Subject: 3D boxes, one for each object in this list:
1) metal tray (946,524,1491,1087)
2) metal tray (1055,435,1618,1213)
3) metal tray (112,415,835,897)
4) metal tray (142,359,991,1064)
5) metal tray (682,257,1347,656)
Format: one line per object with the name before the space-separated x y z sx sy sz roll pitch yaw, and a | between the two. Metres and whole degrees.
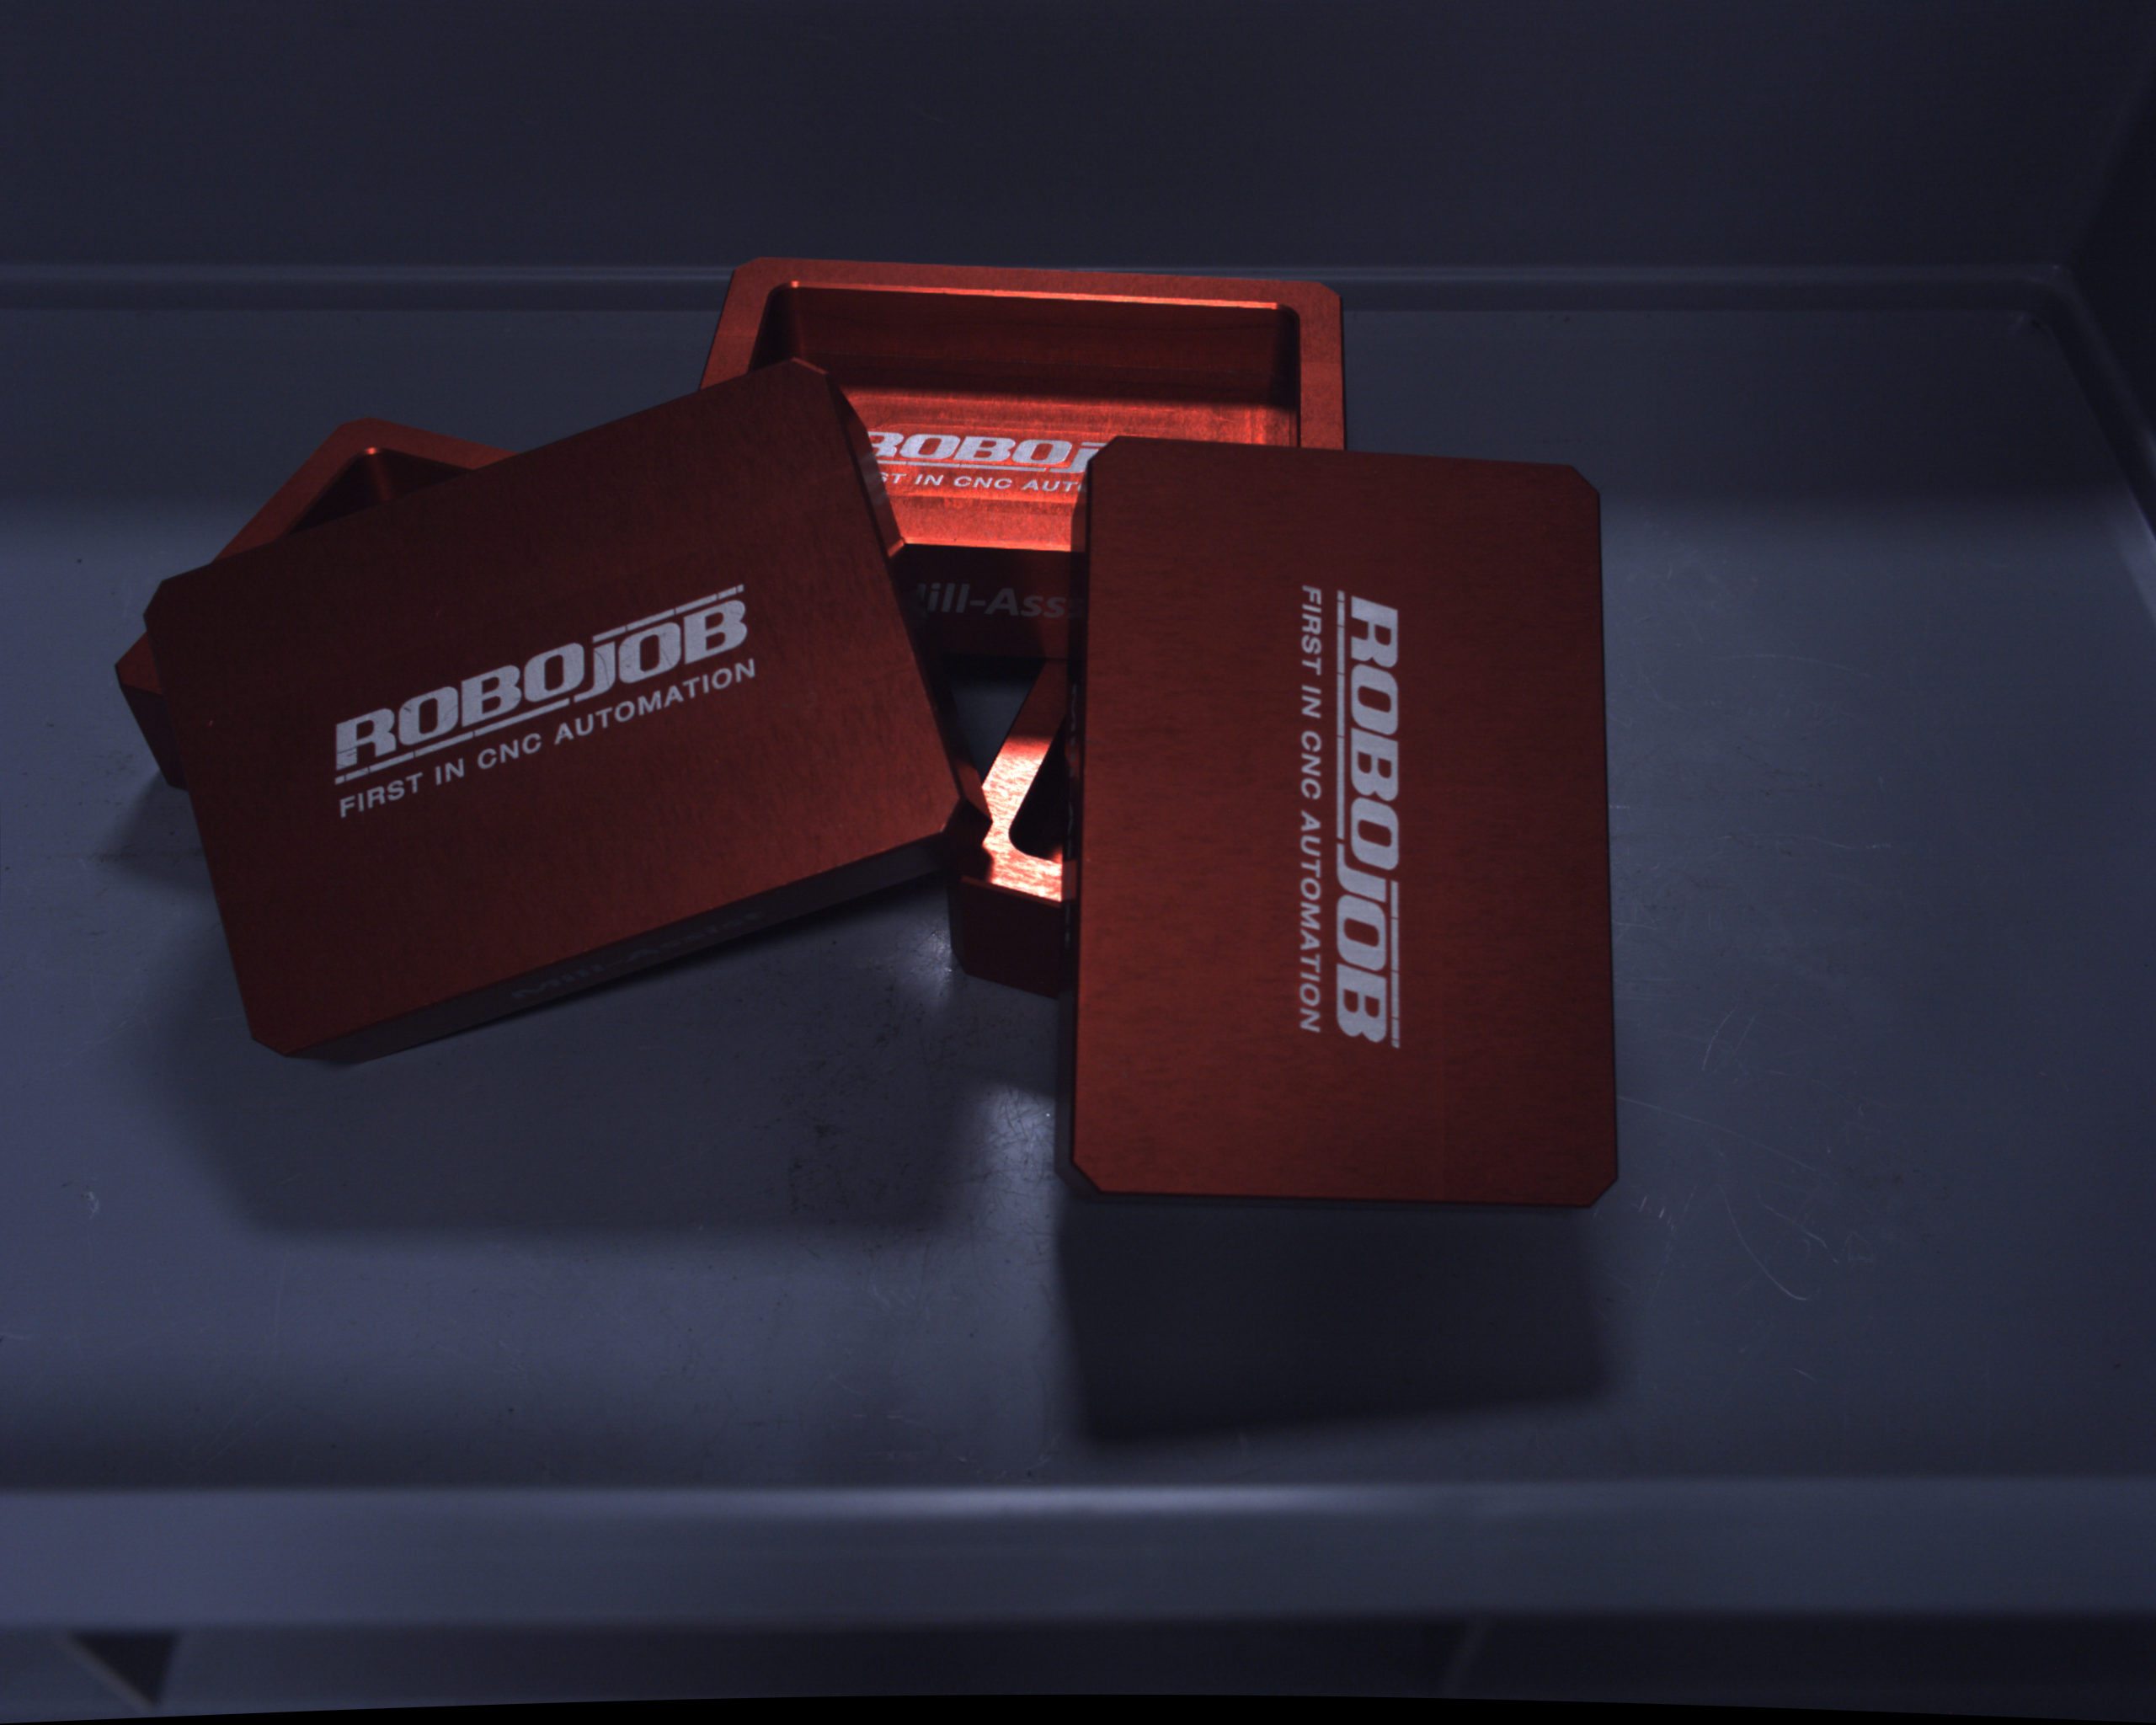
metal tray | 0.038 -0.024 0.420 0.090 0.030 0.130 15 51 12
metal tray | 0.044 -0.006 0.363 0.091 0.030 0.129 3 78 -6
metal tray | -0.115 -0.042 0.432 0.131 0.030 0.090 15 52 12
metal tray | -0.092 -0.025 0.376 0.131 0.030 0.090 -19 81 4
metal tray | -0.011 -0.085 0.431 0.131 0.030 0.090 3 50 2
